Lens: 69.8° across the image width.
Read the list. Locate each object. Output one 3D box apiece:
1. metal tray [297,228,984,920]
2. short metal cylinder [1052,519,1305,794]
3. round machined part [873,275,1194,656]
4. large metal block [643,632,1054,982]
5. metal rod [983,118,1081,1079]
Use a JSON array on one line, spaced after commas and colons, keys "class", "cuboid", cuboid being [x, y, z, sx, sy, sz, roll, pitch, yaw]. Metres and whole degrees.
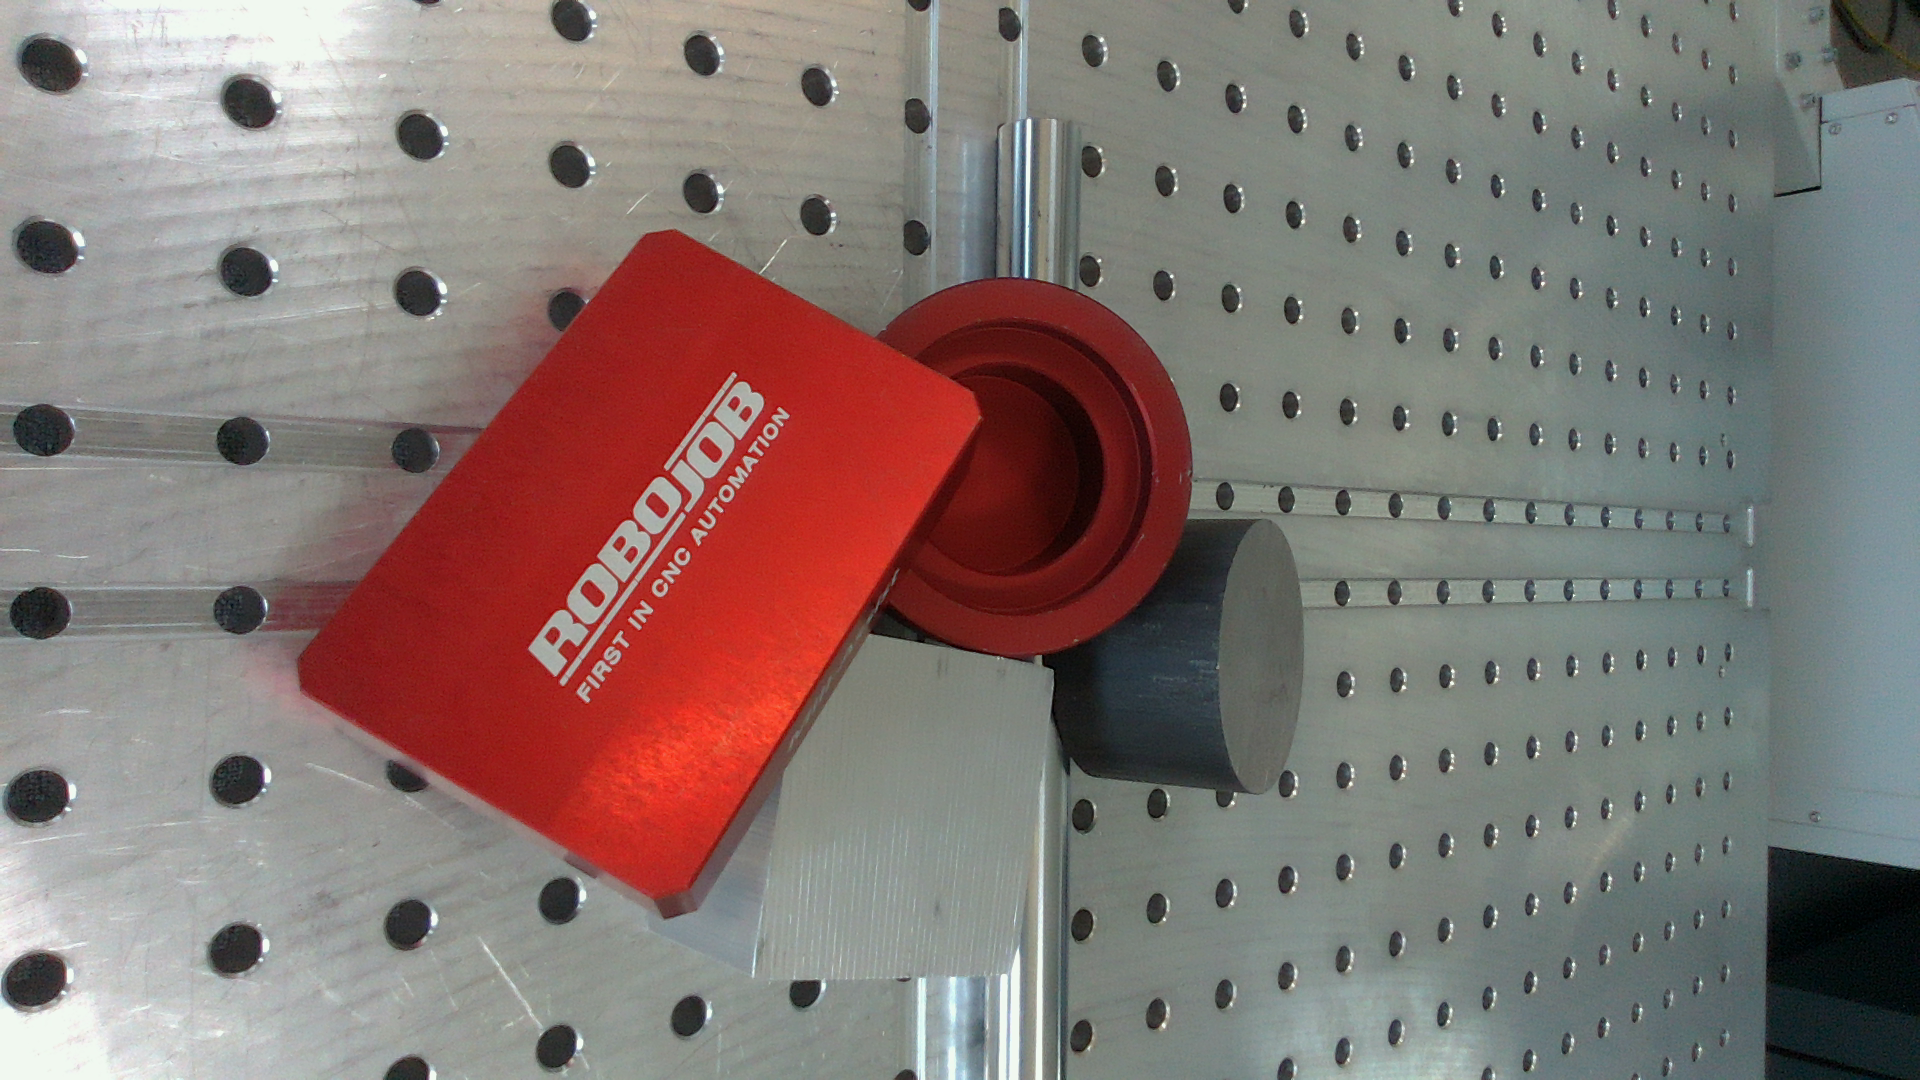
[{"class": "metal tray", "cuboid": [-0.064, 0.003, 0.303, 0.090, 0.030, 0.130, 29, 67, 5]}, {"class": "short metal cylinder", "cuboid": [0.068, 0.034, 0.415, 0.080, 0.050, 0.080, -1, 91, -60]}, {"class": "round machined part", "cuboid": [0.010, -0.019, 0.372, 0.098, 0.042, 0.098, 0, 89, -14]}, {"class": "large metal block", "cuboid": [-0.027, 0.066, 0.353, 0.080, 0.050, 0.080, 13, 82, -39]}, {"class": "metal rod", "cuboid": [0.021, 0.027, 0.410, 0.025, 0.025, 0.300, 1, 89, -40]}]
